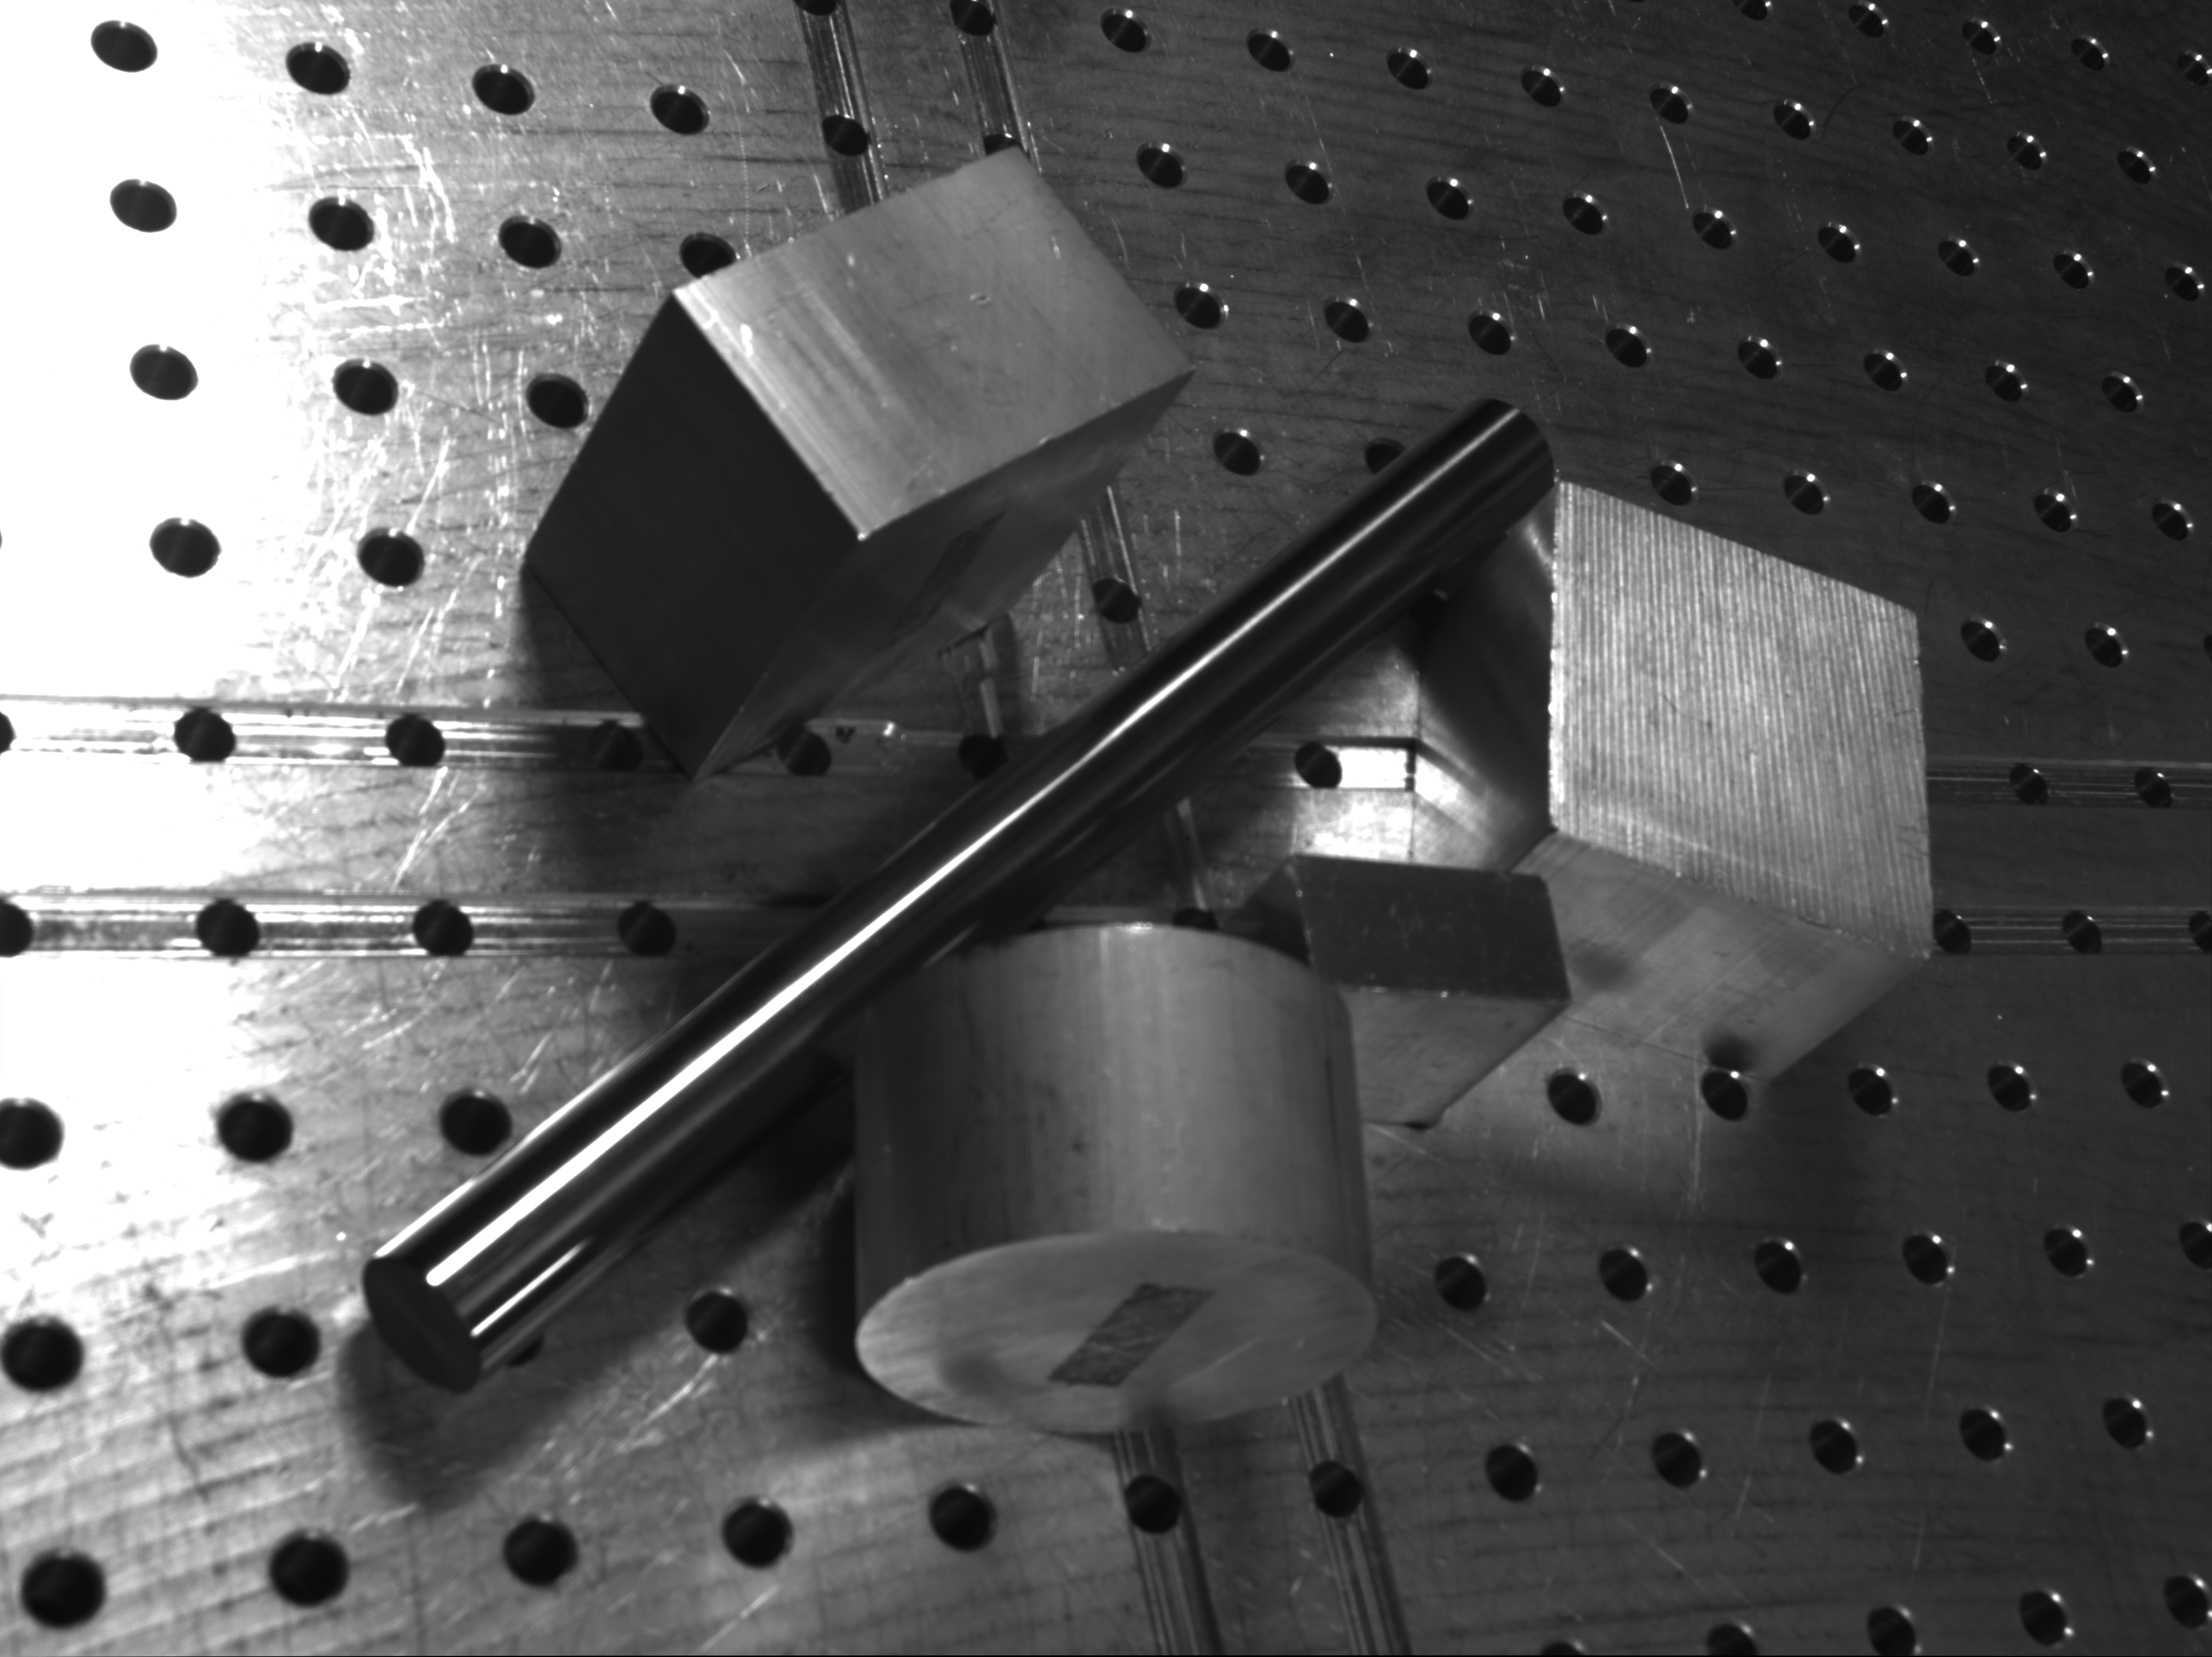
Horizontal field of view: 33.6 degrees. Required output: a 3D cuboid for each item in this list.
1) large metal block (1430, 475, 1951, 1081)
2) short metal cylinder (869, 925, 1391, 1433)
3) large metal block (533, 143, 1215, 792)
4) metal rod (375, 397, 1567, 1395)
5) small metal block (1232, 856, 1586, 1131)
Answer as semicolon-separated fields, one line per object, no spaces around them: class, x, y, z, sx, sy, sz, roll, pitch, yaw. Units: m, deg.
large metal block;0.109;-0.009;0.687;0.080;0.050;0.080;18;55;-18
short metal cylinder;0.003;0.056;0.574;0.080;0.080;0.050;11;57;-22
large metal block;-0.041;-0.061;0.624;0.080;0.080;0.050;-32;79;-38
metal rod;-0.009;0.000;0.638;0.025;0.025;0.301;47;51;5
small metal block;0.047;0.029;0.634;0.050;0.050;0.025;5;59;-26
